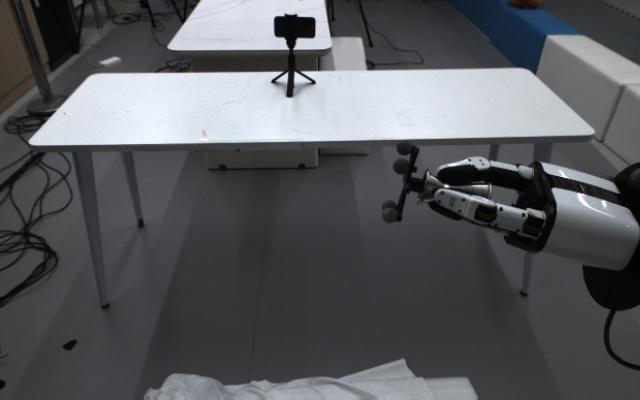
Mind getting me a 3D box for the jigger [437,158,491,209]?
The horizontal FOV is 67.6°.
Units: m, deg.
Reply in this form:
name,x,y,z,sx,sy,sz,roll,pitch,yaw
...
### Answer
name,x,y,z,sx,sy,sz,roll,pitch,yaw
jigger,0.147,-0.011,0.523,0.071,0.043,0.043,14,36,4
